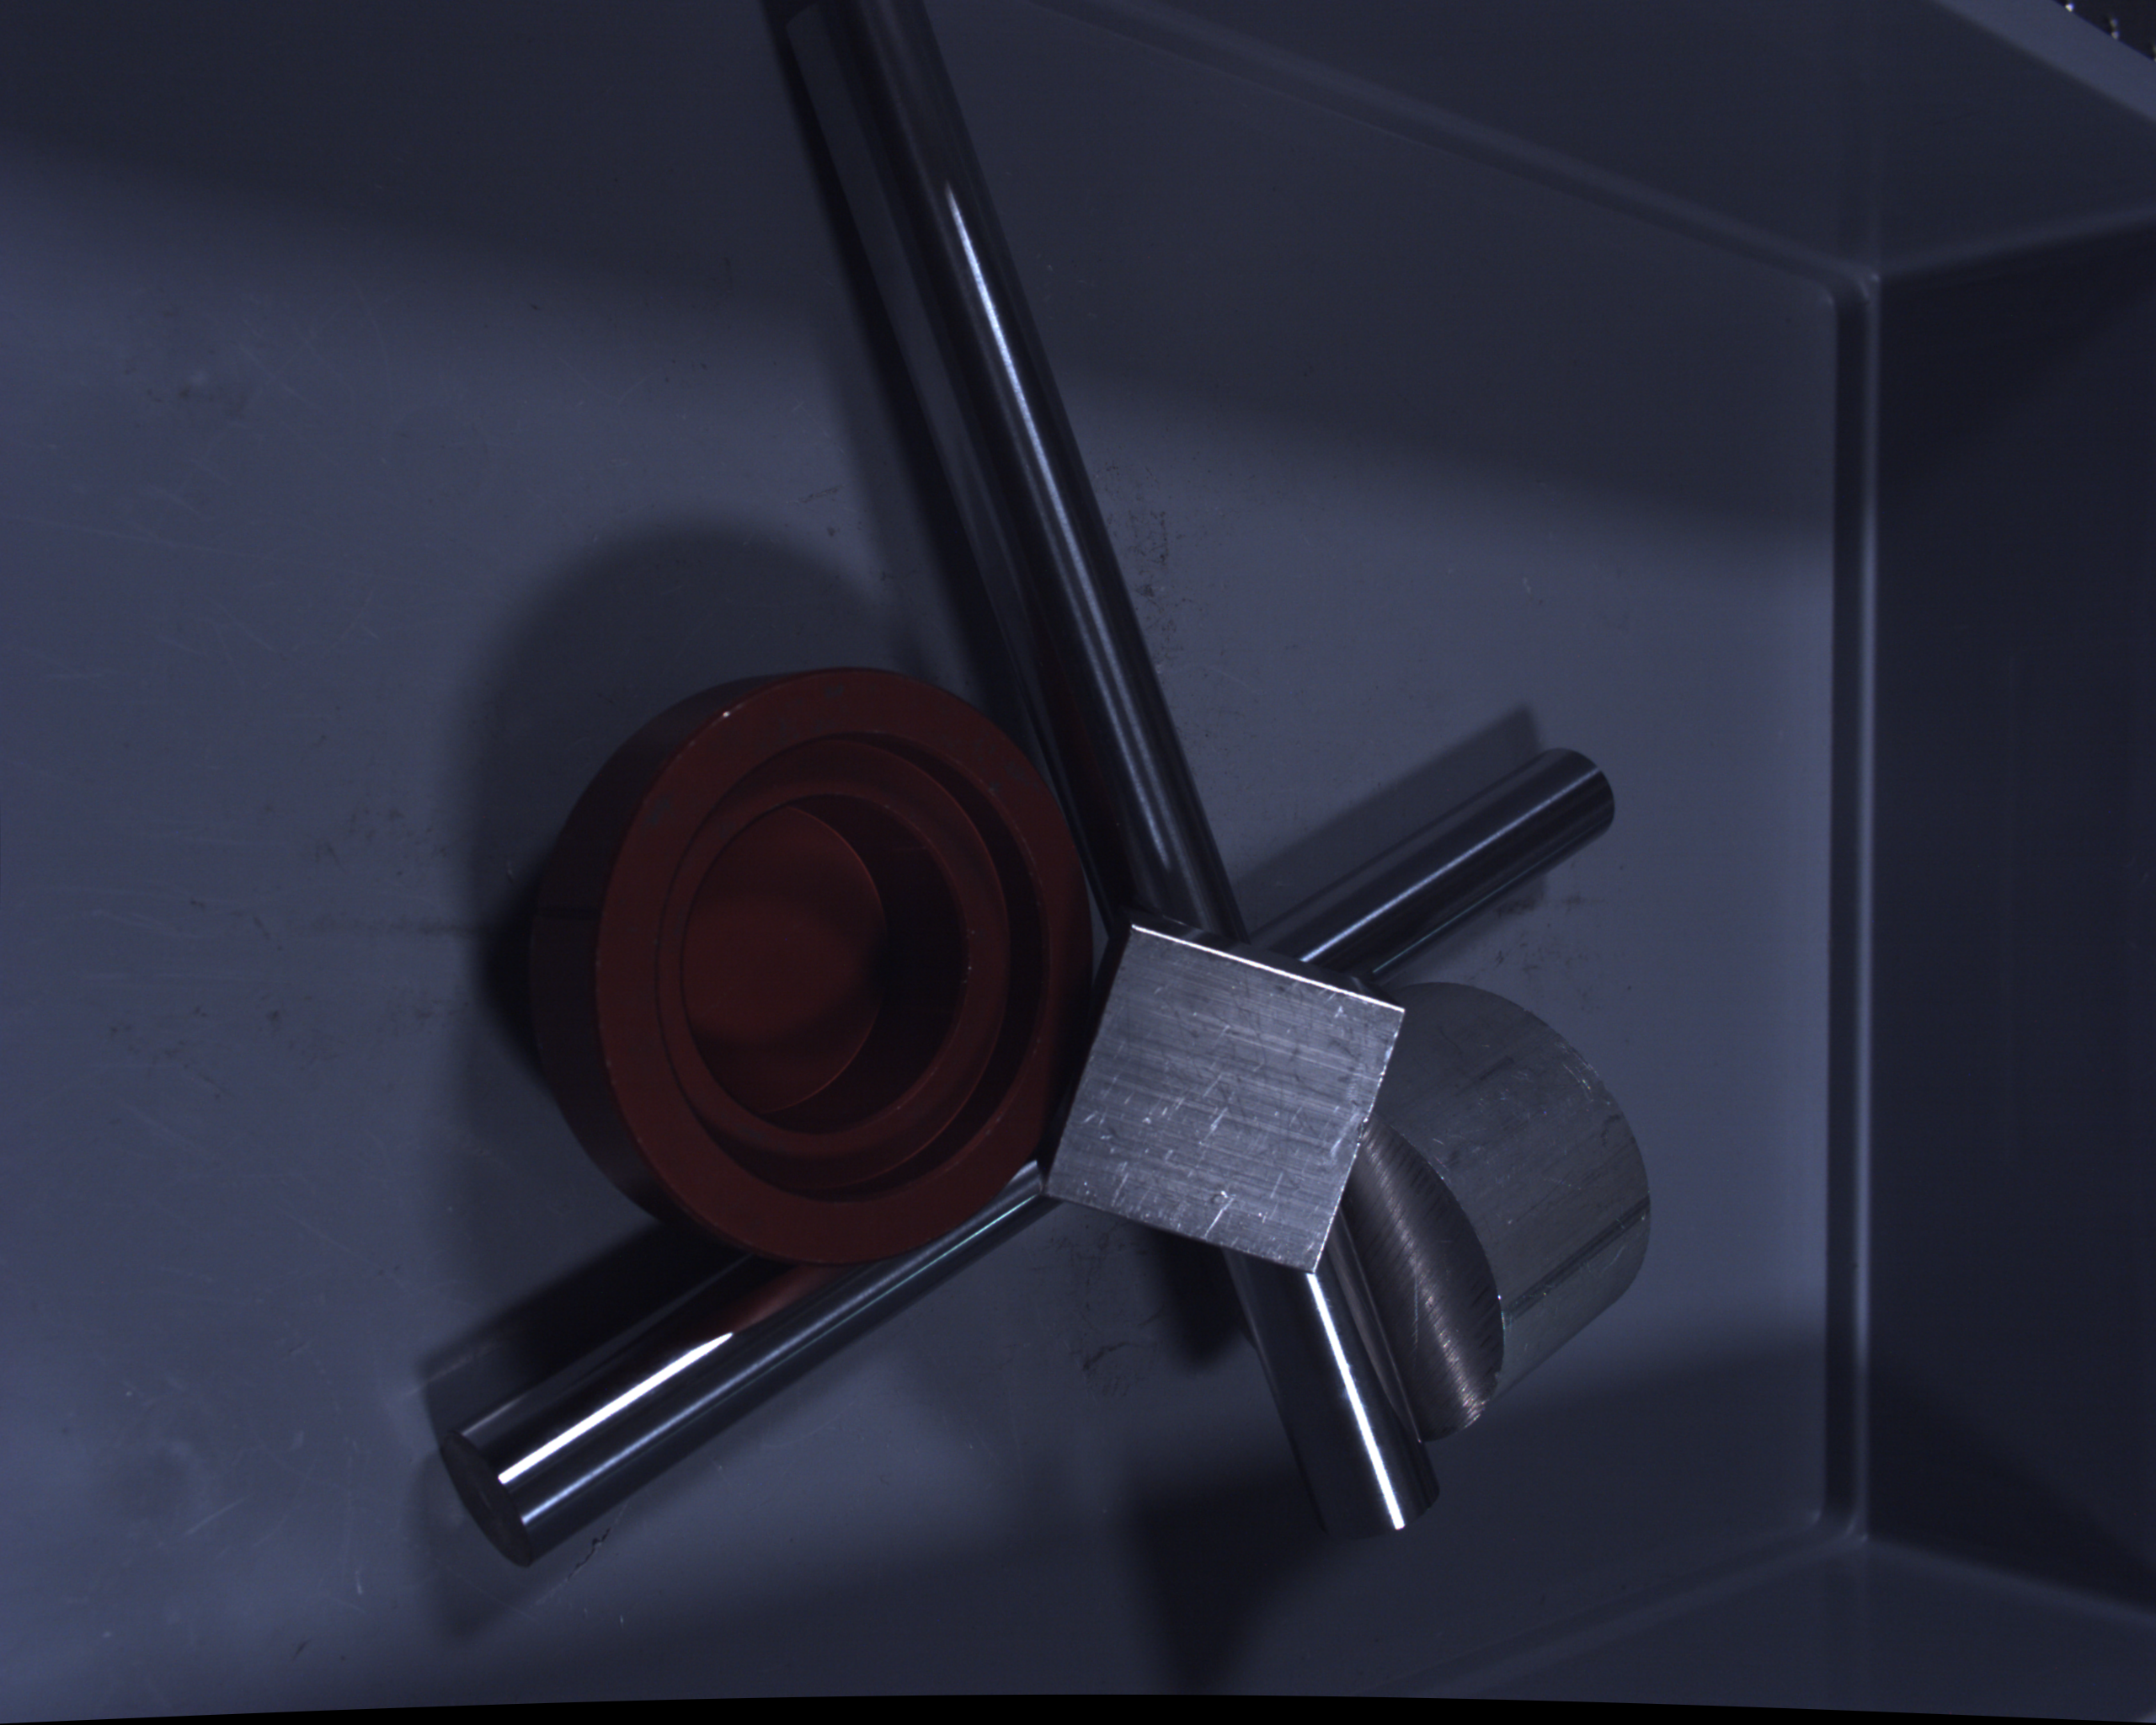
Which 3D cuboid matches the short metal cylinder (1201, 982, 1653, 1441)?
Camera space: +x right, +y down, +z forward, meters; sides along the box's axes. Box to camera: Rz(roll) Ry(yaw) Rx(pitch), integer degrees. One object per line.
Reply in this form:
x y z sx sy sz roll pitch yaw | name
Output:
0.069 0.071 0.430 0.050 0.080 0.080 -25 106 -38 | short metal cylinder

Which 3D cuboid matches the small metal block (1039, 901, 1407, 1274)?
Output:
0.025 0.040 0.374 0.050 0.025 0.050 18 95 -6 | small metal block

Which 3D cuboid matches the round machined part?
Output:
-0.048 0.016 0.355 0.099 0.042 0.097 0 90 -40 | round machined part

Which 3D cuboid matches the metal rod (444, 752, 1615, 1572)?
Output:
0.014 0.043 0.418 0.302 0.025 0.025 -29 108 -37 | metal rod

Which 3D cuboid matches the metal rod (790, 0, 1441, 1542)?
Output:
0.010 -0.013 0.392 0.025 0.025 0.298 -25 99 -38 | metal rod
